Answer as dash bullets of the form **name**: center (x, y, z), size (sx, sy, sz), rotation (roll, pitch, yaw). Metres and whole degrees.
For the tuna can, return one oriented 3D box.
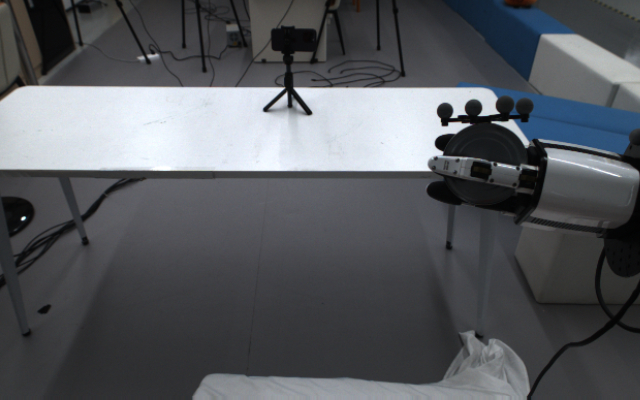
- **tuna can**: center (0.177, -0.041, 0.522), size (0.085, 0.085, 0.034), rotation (15, 10, 18)
